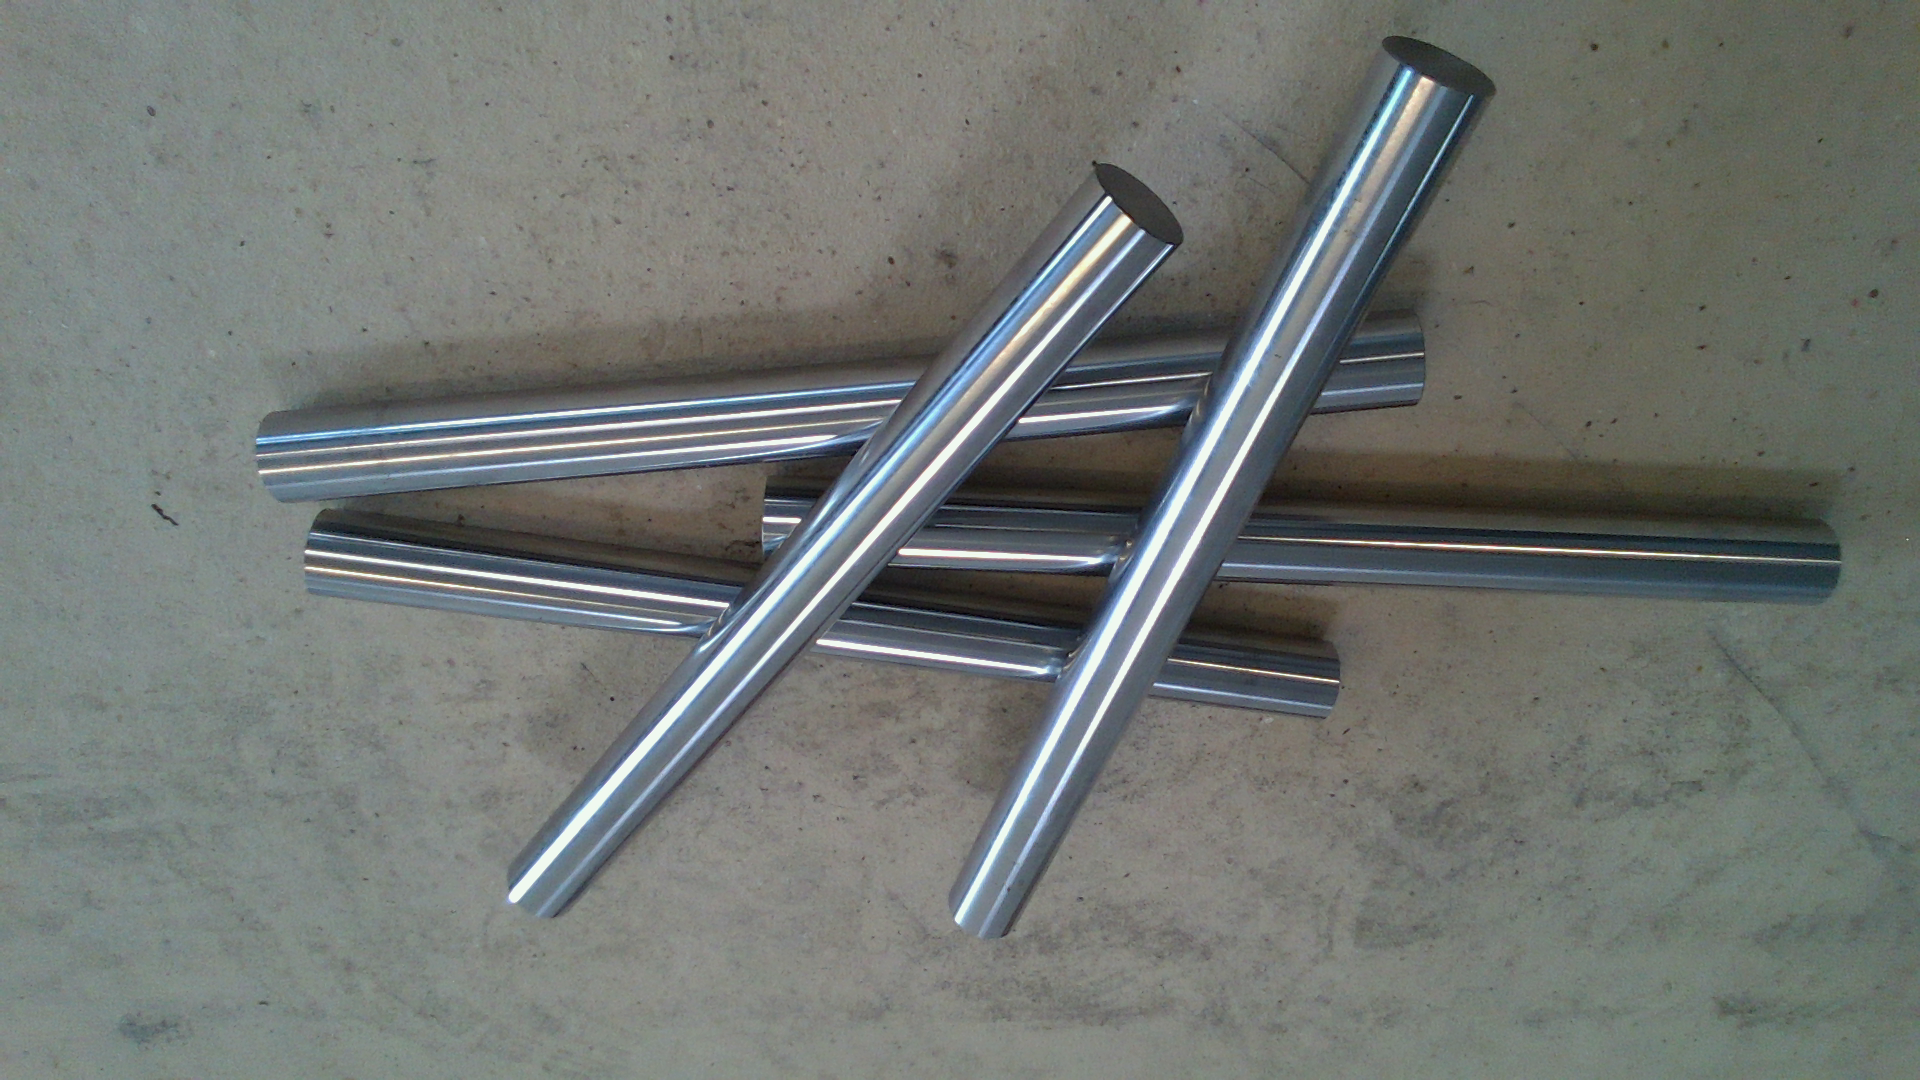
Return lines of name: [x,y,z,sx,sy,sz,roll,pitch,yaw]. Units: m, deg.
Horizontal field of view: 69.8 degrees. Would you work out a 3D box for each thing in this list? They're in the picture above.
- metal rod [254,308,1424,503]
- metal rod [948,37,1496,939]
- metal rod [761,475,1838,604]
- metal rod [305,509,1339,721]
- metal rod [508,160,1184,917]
metal rod: [-0.034,-0.035,0.361,0.300,0.025,0.025,-5,130,4]
metal rod: [0.052,0.014,0.370,0.025,0.025,0.299,13,129,-11]
metal rod: [0.095,0.000,0.391,0.300,0.025,0.025,2,130,-2]
metal rod: [-0.035,0.024,0.410,0.300,0.025,0.025,8,130,-7]
metal rod: [-0.049,0.020,0.374,0.025,0.025,0.299,29,124,-22]
